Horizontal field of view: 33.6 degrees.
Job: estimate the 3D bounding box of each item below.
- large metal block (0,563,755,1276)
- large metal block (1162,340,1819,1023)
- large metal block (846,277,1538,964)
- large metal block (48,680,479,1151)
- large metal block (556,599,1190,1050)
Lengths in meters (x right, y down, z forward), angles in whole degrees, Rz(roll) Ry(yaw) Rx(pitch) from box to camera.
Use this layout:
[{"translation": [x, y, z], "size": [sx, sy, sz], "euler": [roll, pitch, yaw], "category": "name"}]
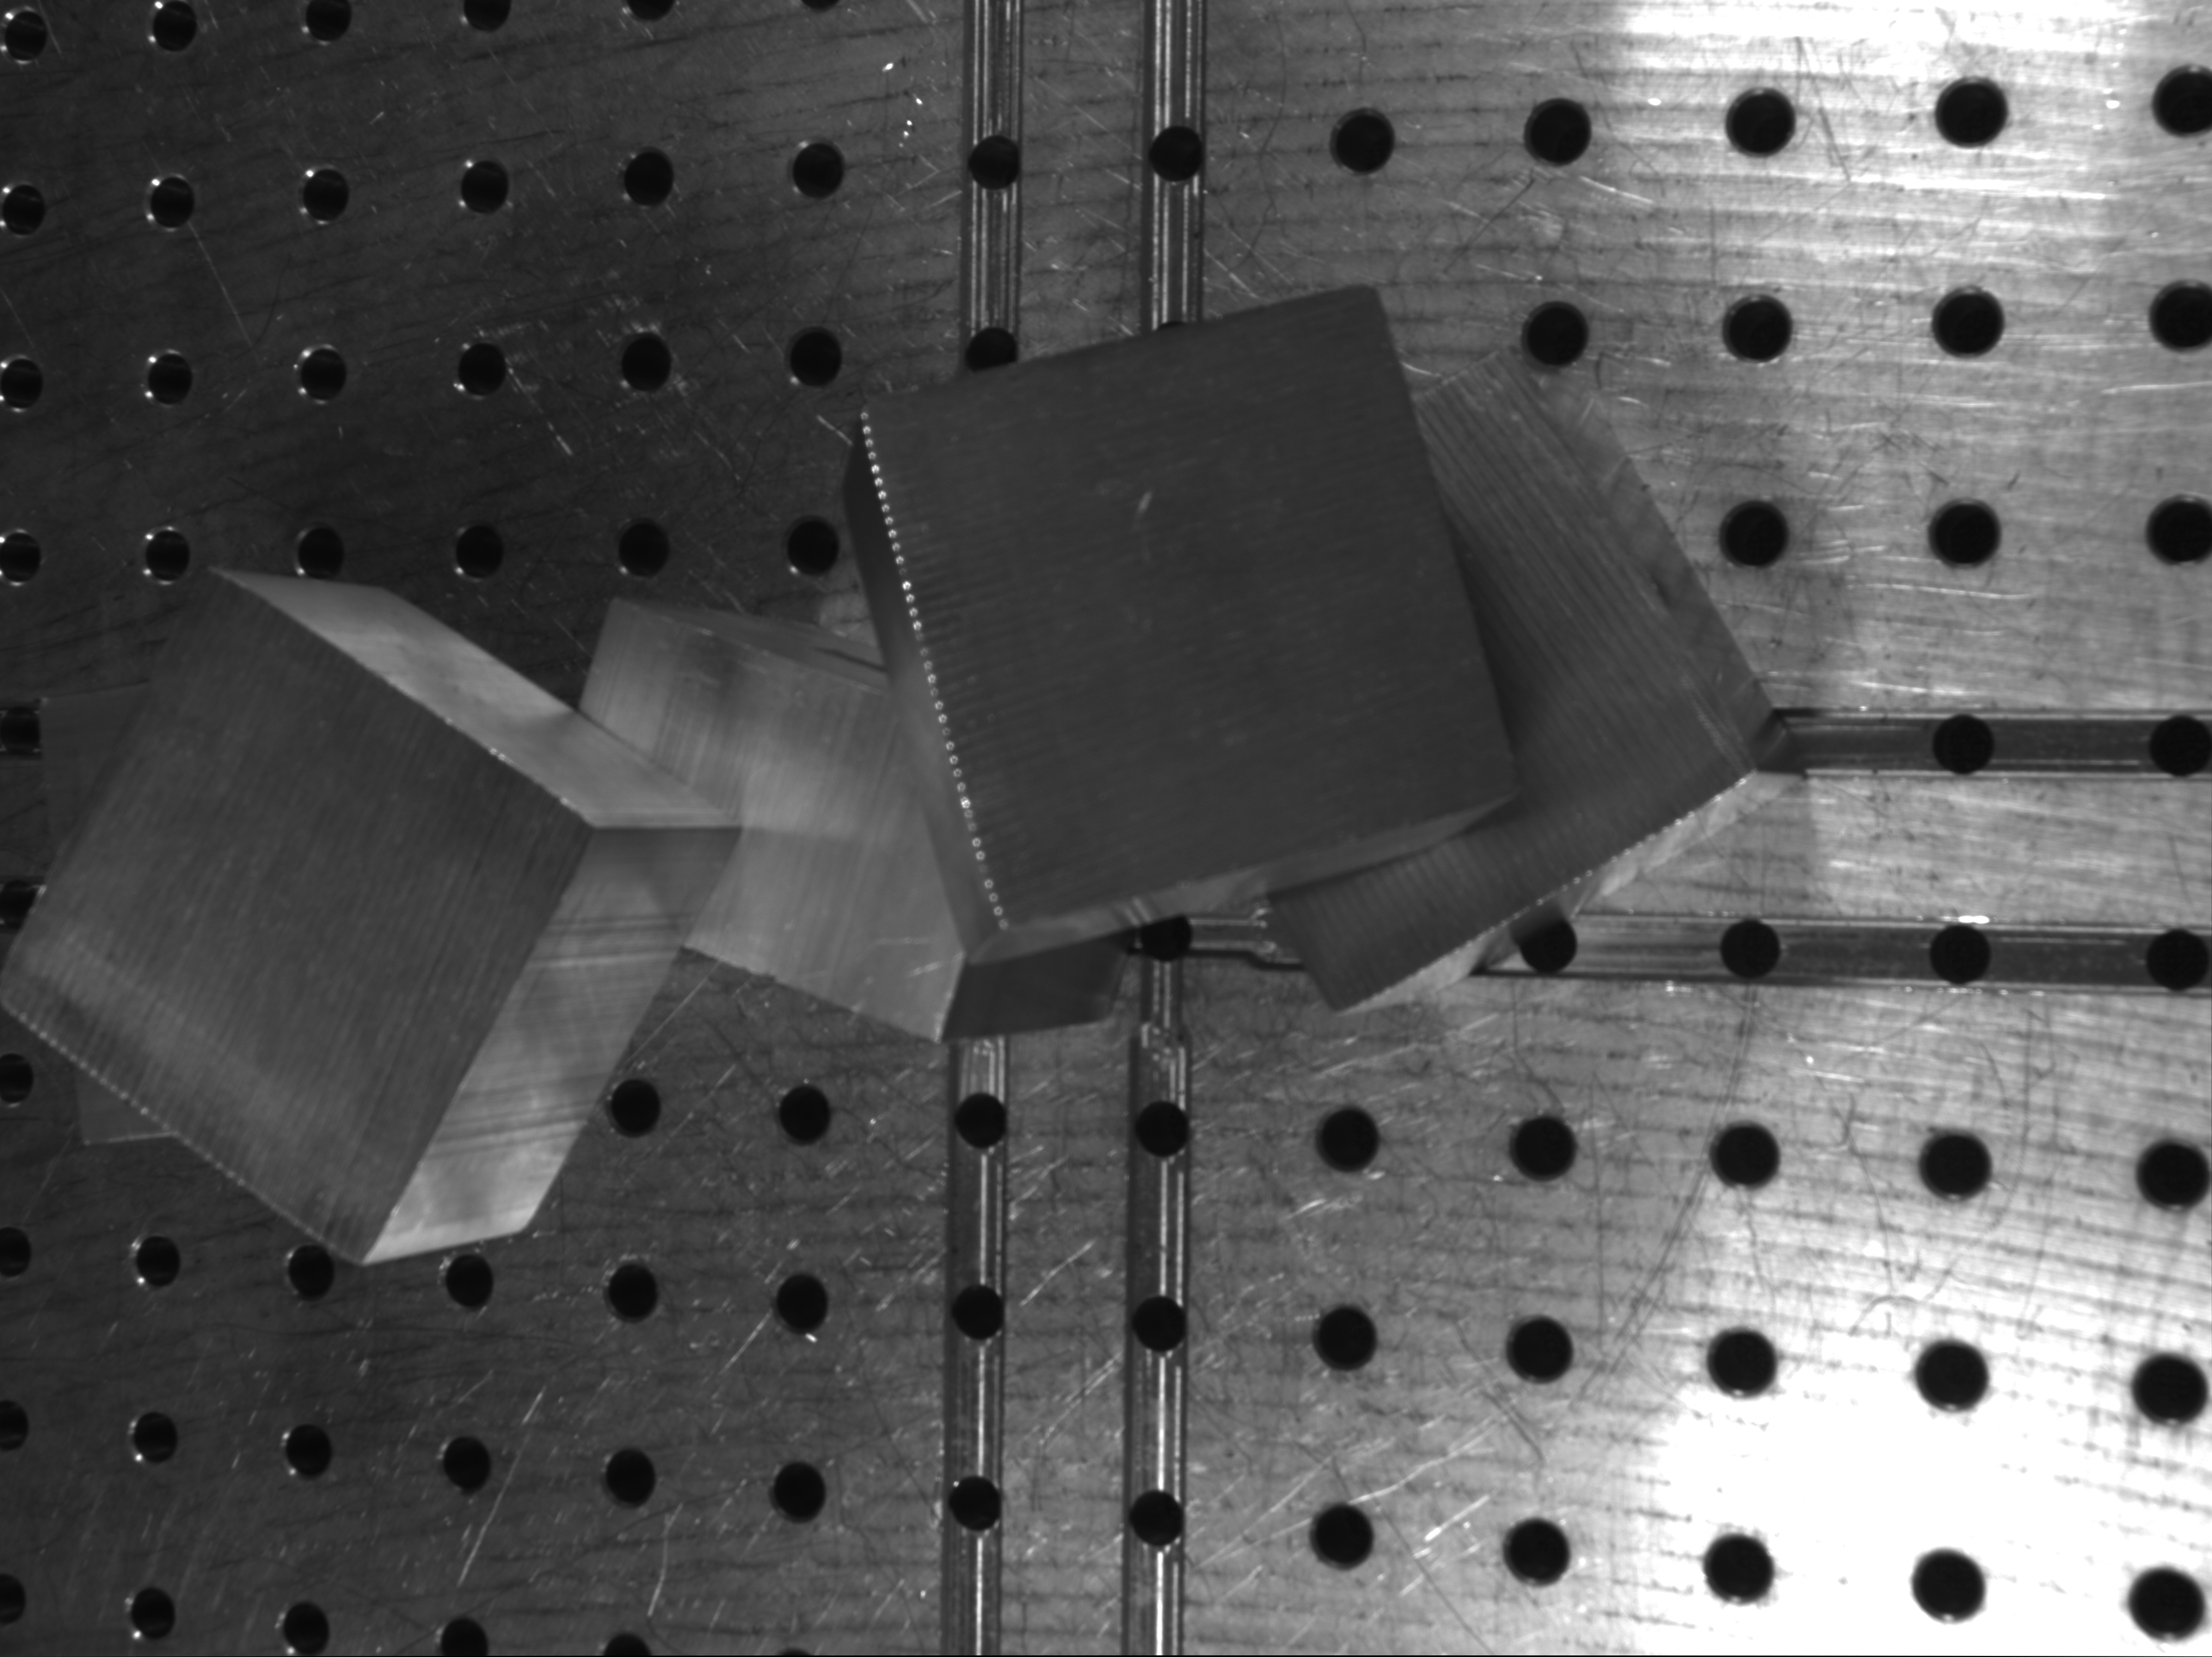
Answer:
[{"translation": [-0.117, 0.014, 0.589], "size": [0.080, 0.050, 0.080], "euler": [33, 100, 17], "category": "large metal block"}, {"translation": [0.061, -0.023, 0.612], "size": [0.080, 0.050, 0.080], "euler": [-32, 80, 17], "category": "large metal block"}, {"translation": [0.011, -0.030, 0.557], "size": [0.080, 0.050, 0.080], "euler": [-14, 85, -10], "category": "large metal block"}, {"translation": [-0.144, 0.014, 0.668], "size": [0.050, 0.080, 0.080], "euler": [-7, 88, 20], "category": "large metal block"}, {"translation": [-0.039, -0.001, 0.631], "size": [0.080, 0.080, 0.050], "euler": [20, 96, 19], "category": "large metal block"}]
